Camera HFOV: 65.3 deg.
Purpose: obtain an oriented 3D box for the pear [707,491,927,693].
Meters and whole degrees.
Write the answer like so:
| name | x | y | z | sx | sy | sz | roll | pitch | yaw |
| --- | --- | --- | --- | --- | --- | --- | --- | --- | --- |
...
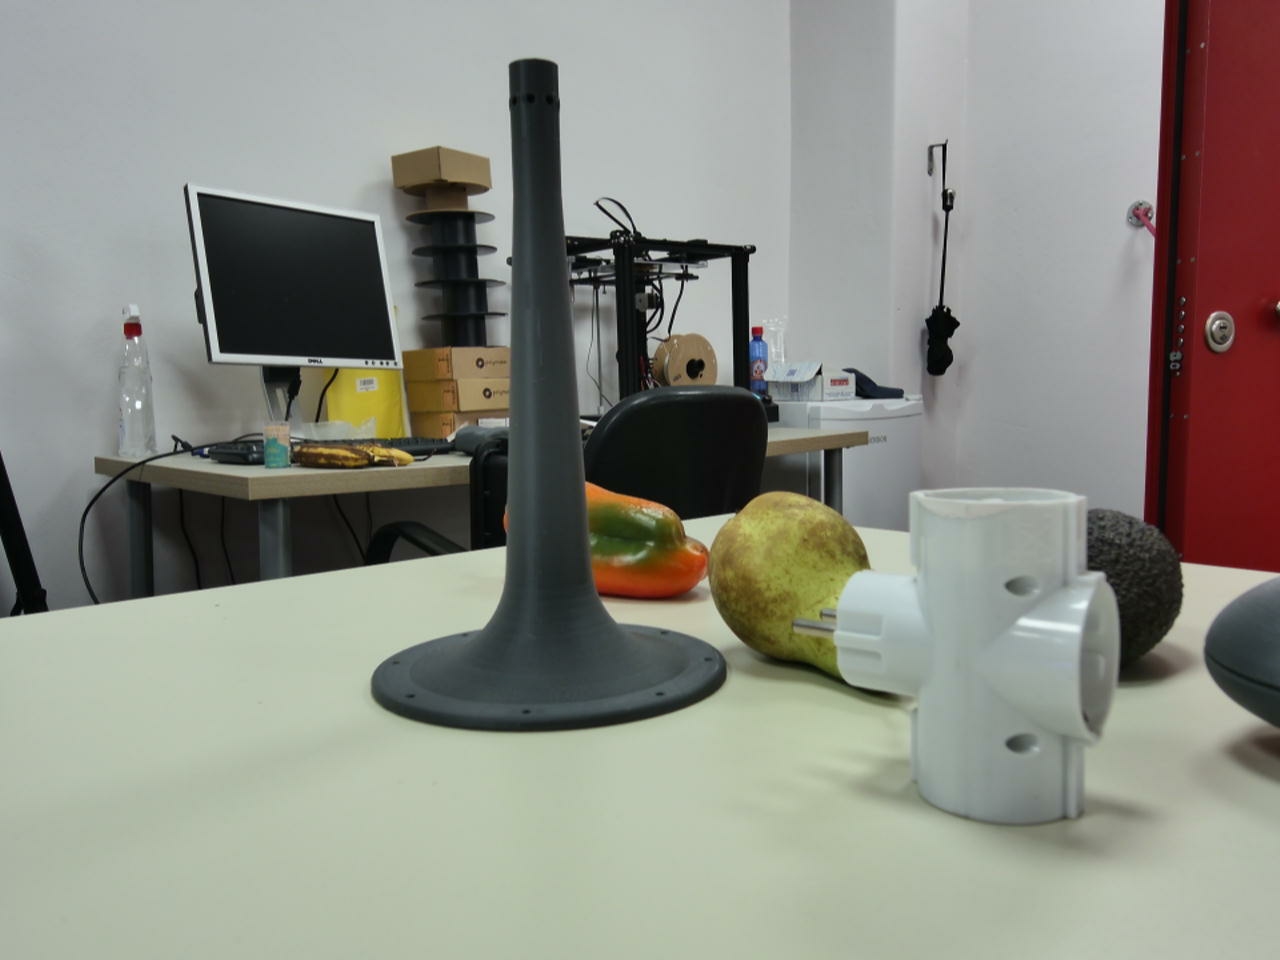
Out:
| name | x | y | z | sx | sy | sz | roll | pitch | yaw |
| --- | --- | --- | --- | --- | --- | --- | --- | --- | --- |
| pear | 0.088 | 0.046 | 0.431 | 0.071 | 0.075 | 0.144 | -2 | 4 | -33 |
